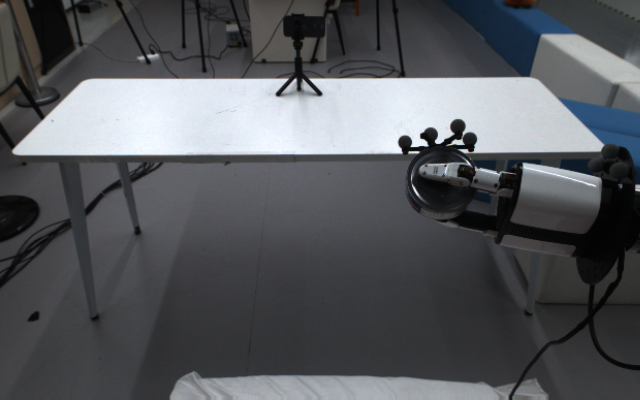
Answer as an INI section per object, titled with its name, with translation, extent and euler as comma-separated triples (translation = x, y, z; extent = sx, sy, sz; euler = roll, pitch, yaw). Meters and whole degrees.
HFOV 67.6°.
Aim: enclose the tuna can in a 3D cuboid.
[tuna can]
translation = 0.148, -0.021, 0.591
extent = 0.085, 0.034, 0.085
euler = -2, 68, 6
